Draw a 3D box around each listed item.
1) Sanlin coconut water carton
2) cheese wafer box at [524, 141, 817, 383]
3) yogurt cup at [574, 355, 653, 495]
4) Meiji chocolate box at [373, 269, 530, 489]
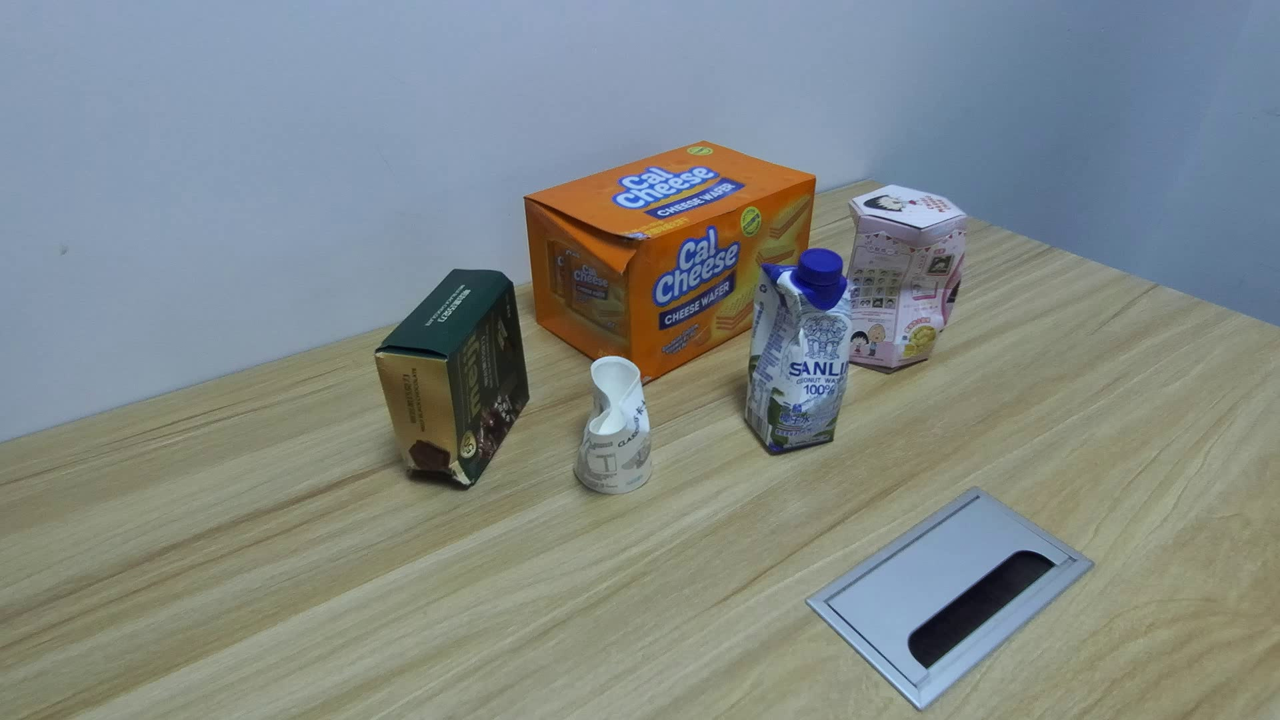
[{"bbox_3d":[0.114,-0.011,0.500,0.057,0.145,0.068,-7,26,-21],"label":"Sanlin coconut water carton"},{"bbox_3d":[0.030,-0.099,0.637,0.228,0.137,0.149,-26,42,-33],"label":"cheese wafer box"},{"bbox_3d":[-0.019,0.047,0.477,0.054,0.071,0.075,-16,37,-21],"label":"yogurt cup"},{"bbox_3d":[-0.129,0.010,0.503,0.058,0.116,0.122,8,34,12],"label":"Meiji chocolate box"}]
